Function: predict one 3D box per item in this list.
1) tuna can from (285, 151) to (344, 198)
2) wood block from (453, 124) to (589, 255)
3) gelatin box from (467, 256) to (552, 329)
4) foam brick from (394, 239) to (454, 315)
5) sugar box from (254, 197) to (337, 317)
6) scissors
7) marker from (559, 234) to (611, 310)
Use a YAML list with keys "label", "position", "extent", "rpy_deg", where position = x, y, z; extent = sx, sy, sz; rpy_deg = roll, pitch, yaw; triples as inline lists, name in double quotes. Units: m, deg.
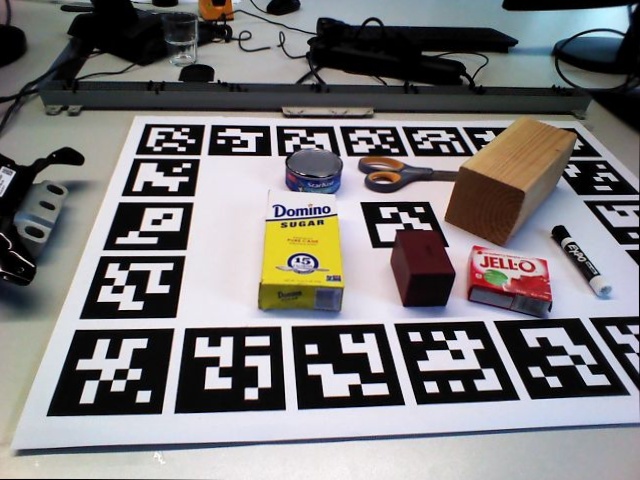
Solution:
- label: "tuna can"
  position: [-0.008, -0.095, 0.764]
  extent: [0.086, 0.034, 0.085]
  rpy_deg: [1, 42, -2]
- label: "wood block"
  position: [0.286, -0.076, 0.727]
  extent: [0.090, 0.091, 0.205]
  rpy_deg: [31, 47, 29]
- label: "gelatin box"
  position: [0.223, 0.059, 0.610]
  extent: [0.090, 0.030, 0.073]
  rpy_deg: [12, 43, 11]
- label: "foam brick"
  position: [0.119, 0.043, 0.600]
  extent: [0.053, 0.051, 0.077]
  rpy_deg: [1, 42, -2]
- label: "sugar box"
  position: [-0.025, 0.015, 0.636]
  extent: [0.093, 0.045, 0.175]
  rpy_deg: [3, 41, -1]
- label: "scissors"
  position: [0.164, -0.091, 0.789]
  extent: [0.203, 0.016, 0.087]
  rpy_deg: [3, 41, 4]
- label: "marker"
  position: [0.329, 0.036, 0.649]
  extent: [0.020, 0.020, 0.120]
  rpy_deg: [1, 43, -3]
